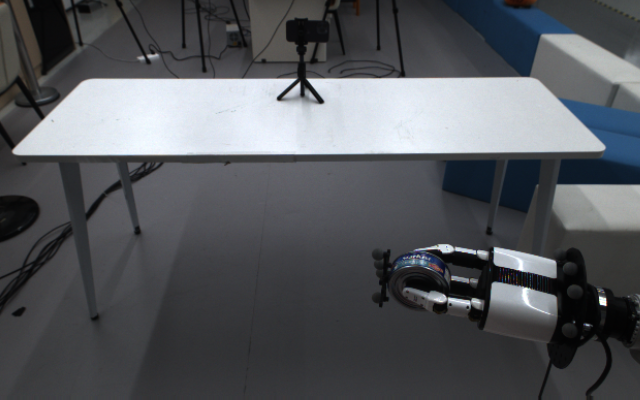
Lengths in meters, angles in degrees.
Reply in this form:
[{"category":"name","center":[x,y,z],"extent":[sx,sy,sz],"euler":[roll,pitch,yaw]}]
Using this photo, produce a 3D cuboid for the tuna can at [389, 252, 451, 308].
[{"category":"tuna can","center":[0.141,0.110,0.680],"extent":[0.085,0.085,0.034],"euler":[9,32,10]}]
